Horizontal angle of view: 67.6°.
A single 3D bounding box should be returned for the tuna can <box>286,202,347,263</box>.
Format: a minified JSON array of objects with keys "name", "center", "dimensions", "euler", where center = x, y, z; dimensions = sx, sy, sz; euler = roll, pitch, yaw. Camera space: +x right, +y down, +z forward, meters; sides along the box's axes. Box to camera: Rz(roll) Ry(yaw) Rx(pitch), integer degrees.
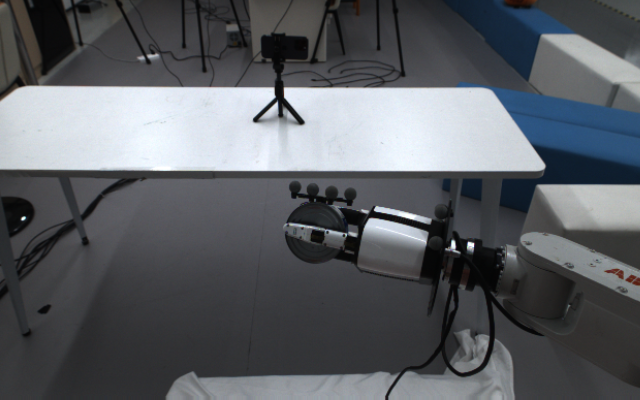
[{"name":"tuna can","center":[-0.003,0.042,0.676],"dimensions":[0.085,0.085,0.034],"euler":[11,2,13]}]
